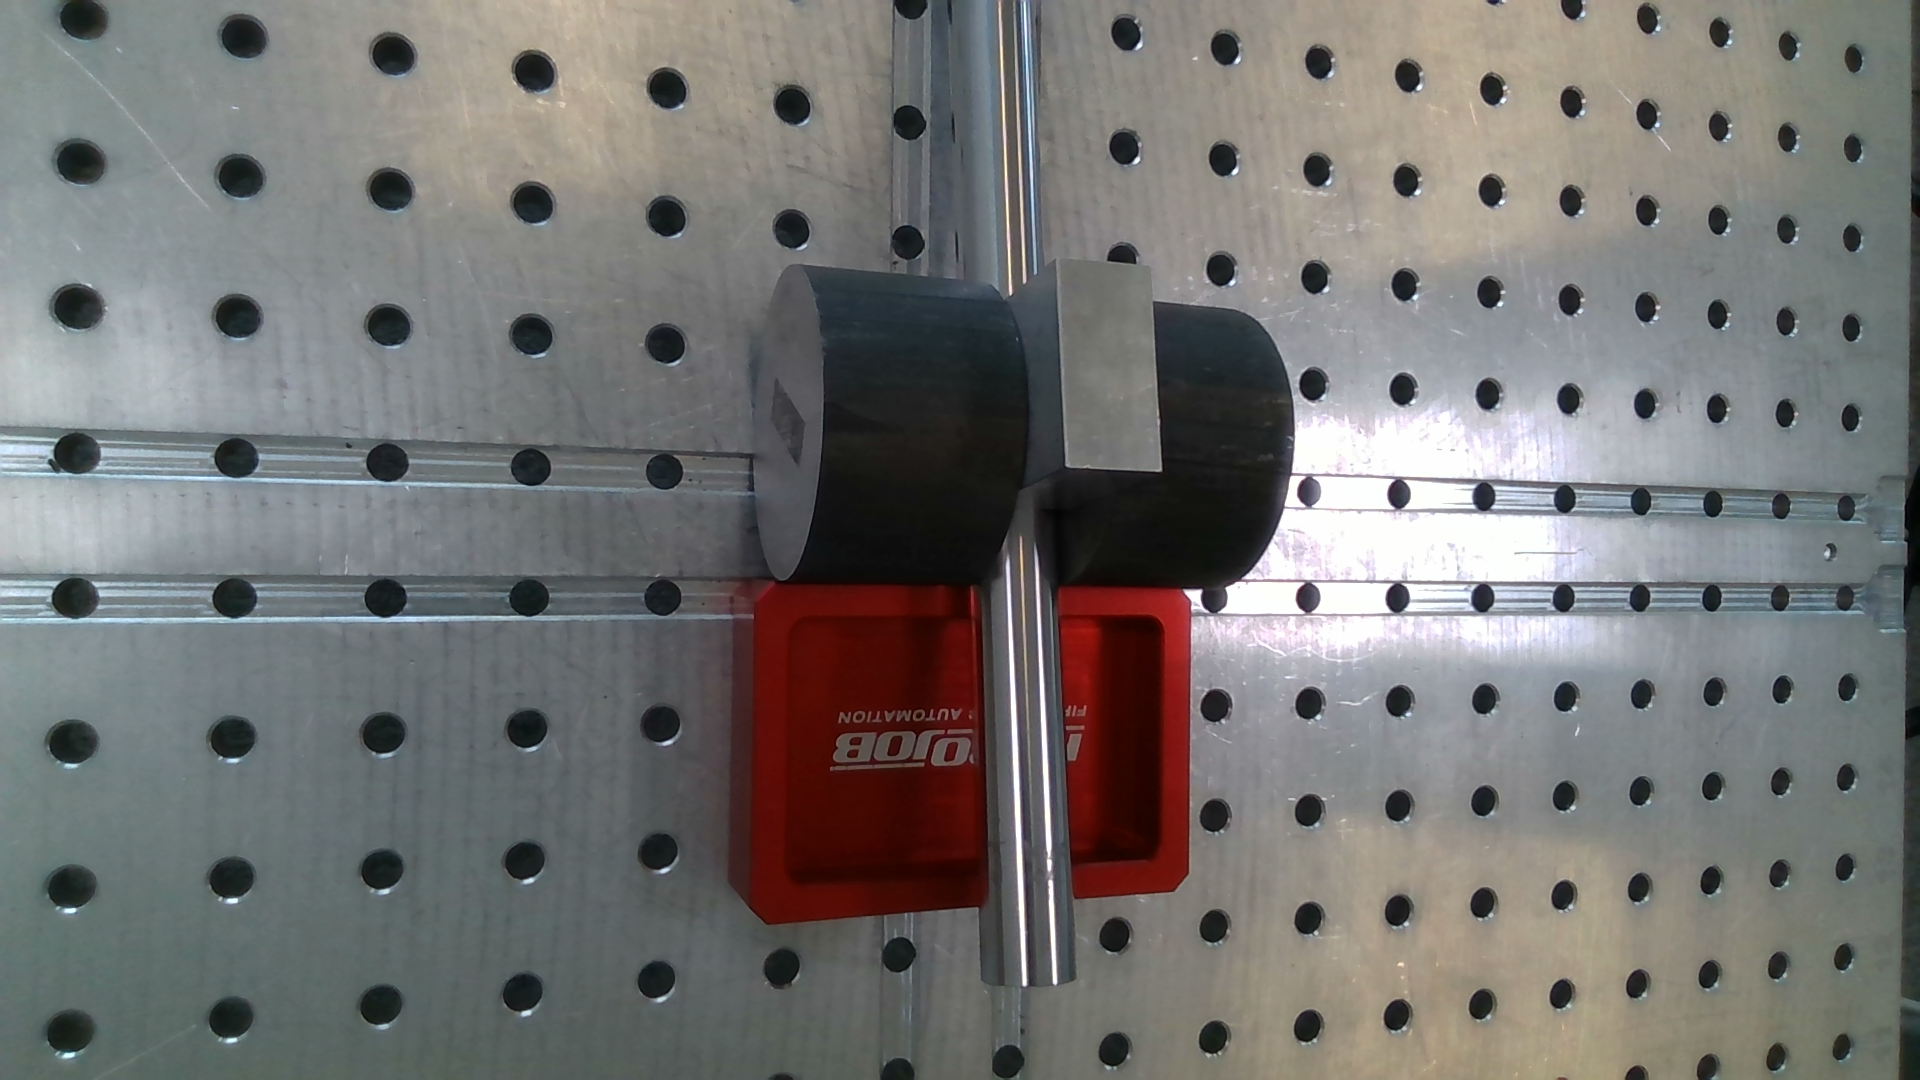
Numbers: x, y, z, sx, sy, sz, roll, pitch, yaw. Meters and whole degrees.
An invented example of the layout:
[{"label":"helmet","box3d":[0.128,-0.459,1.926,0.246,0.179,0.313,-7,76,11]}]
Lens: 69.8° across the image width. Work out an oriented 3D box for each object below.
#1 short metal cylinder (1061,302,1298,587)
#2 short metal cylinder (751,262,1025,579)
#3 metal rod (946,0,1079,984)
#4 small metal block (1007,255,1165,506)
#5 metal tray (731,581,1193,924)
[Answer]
[{"label":"short metal cylinder","box3d":[0.050,-0.027,0.384,0.050,0.080,0.080,1,90,-20]},{"label":"short metal cylinder","box3d":[-0.022,-0.030,0.359,0.050,0.080,0.080,1,90,-20]},{"label":"metal rod","box3d":[0.013,-0.036,0.376,0.025,0.025,0.300,1,81,-20]},{"label":"small metal block","box3d":[0.026,-0.037,0.342,0.025,0.050,0.050,1,81,-20]},{"label":"metal tray","box3d":[0.002,0.057,0.395,0.130,0.030,0.090,1,90,-20]}]
